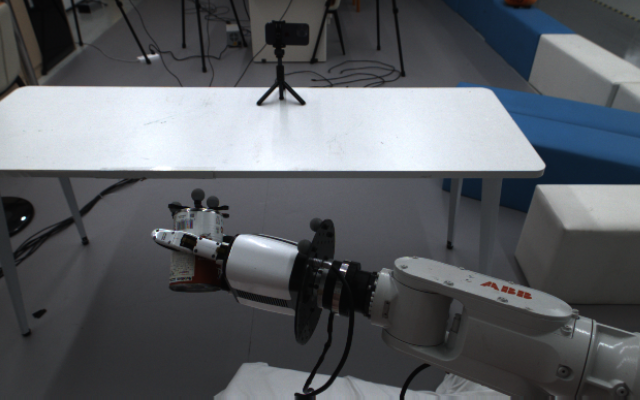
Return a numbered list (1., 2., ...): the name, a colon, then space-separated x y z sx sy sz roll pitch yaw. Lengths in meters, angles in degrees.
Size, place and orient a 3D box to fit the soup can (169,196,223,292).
1. soup can: -0.161 0.069 0.643 0.067 0.067 0.101 -1 71 -5
